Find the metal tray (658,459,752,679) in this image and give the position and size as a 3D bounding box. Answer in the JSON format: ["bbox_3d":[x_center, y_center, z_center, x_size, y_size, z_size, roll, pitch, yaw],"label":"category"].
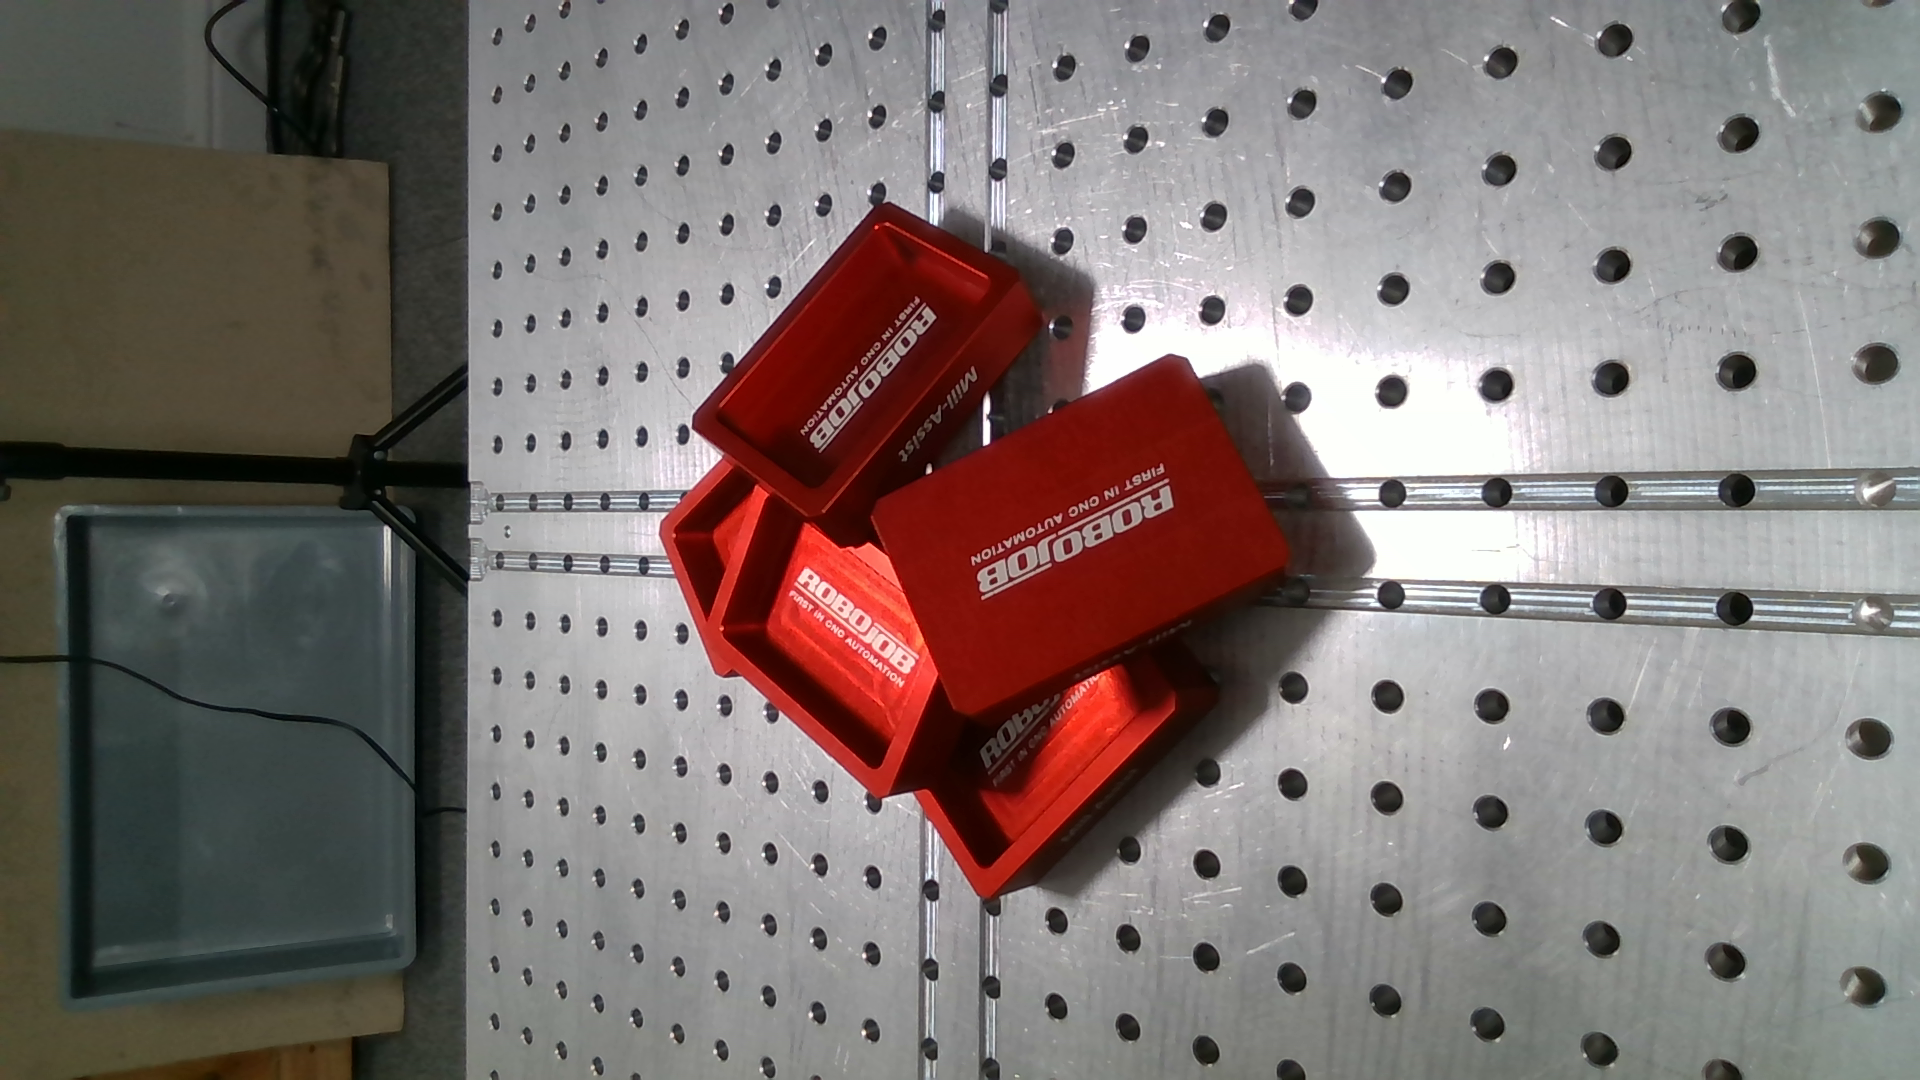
[{"bbox_3d":[-0.084,-0.004,0.653,0.130,0.030,0.090,-40,66,33],"label":"metal tray"}]

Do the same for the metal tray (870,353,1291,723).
[{"bbox_3d":[0.043,0.001,0.505,0.130,0.030,0.090,-26,71,6],"label":"metal tray"}]

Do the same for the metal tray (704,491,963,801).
[{"bbox_3d":[-0.048,0.037,0.584,0.130,0.030,0.090,35,112,34],"label":"metal tray"}]

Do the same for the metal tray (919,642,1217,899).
[{"bbox_3d":[0.031,0.071,0.556,0.130,0.030,0.090,-51,60,28],"label":"metal tray"}]

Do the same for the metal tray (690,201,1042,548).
[{"bbox_3d":[-0.040,-0.072,0.575,0.090,0.030,0.130,35,82,34],"label":"metal tray"}]
